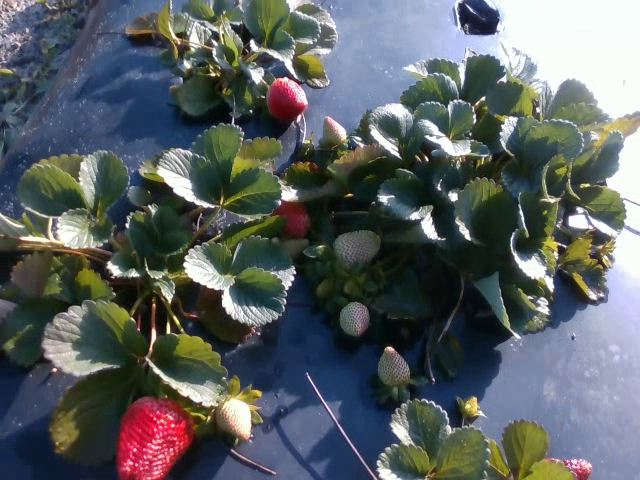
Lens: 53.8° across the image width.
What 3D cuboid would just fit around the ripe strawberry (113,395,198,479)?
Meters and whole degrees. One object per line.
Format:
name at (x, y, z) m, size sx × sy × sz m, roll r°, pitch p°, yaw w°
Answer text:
ripe strawberry at (-0.112, 0.133, 0.408) m, size 0.057 × 0.055 × 0.072 m, roll -34°, pitch 29°, yaw 21°
